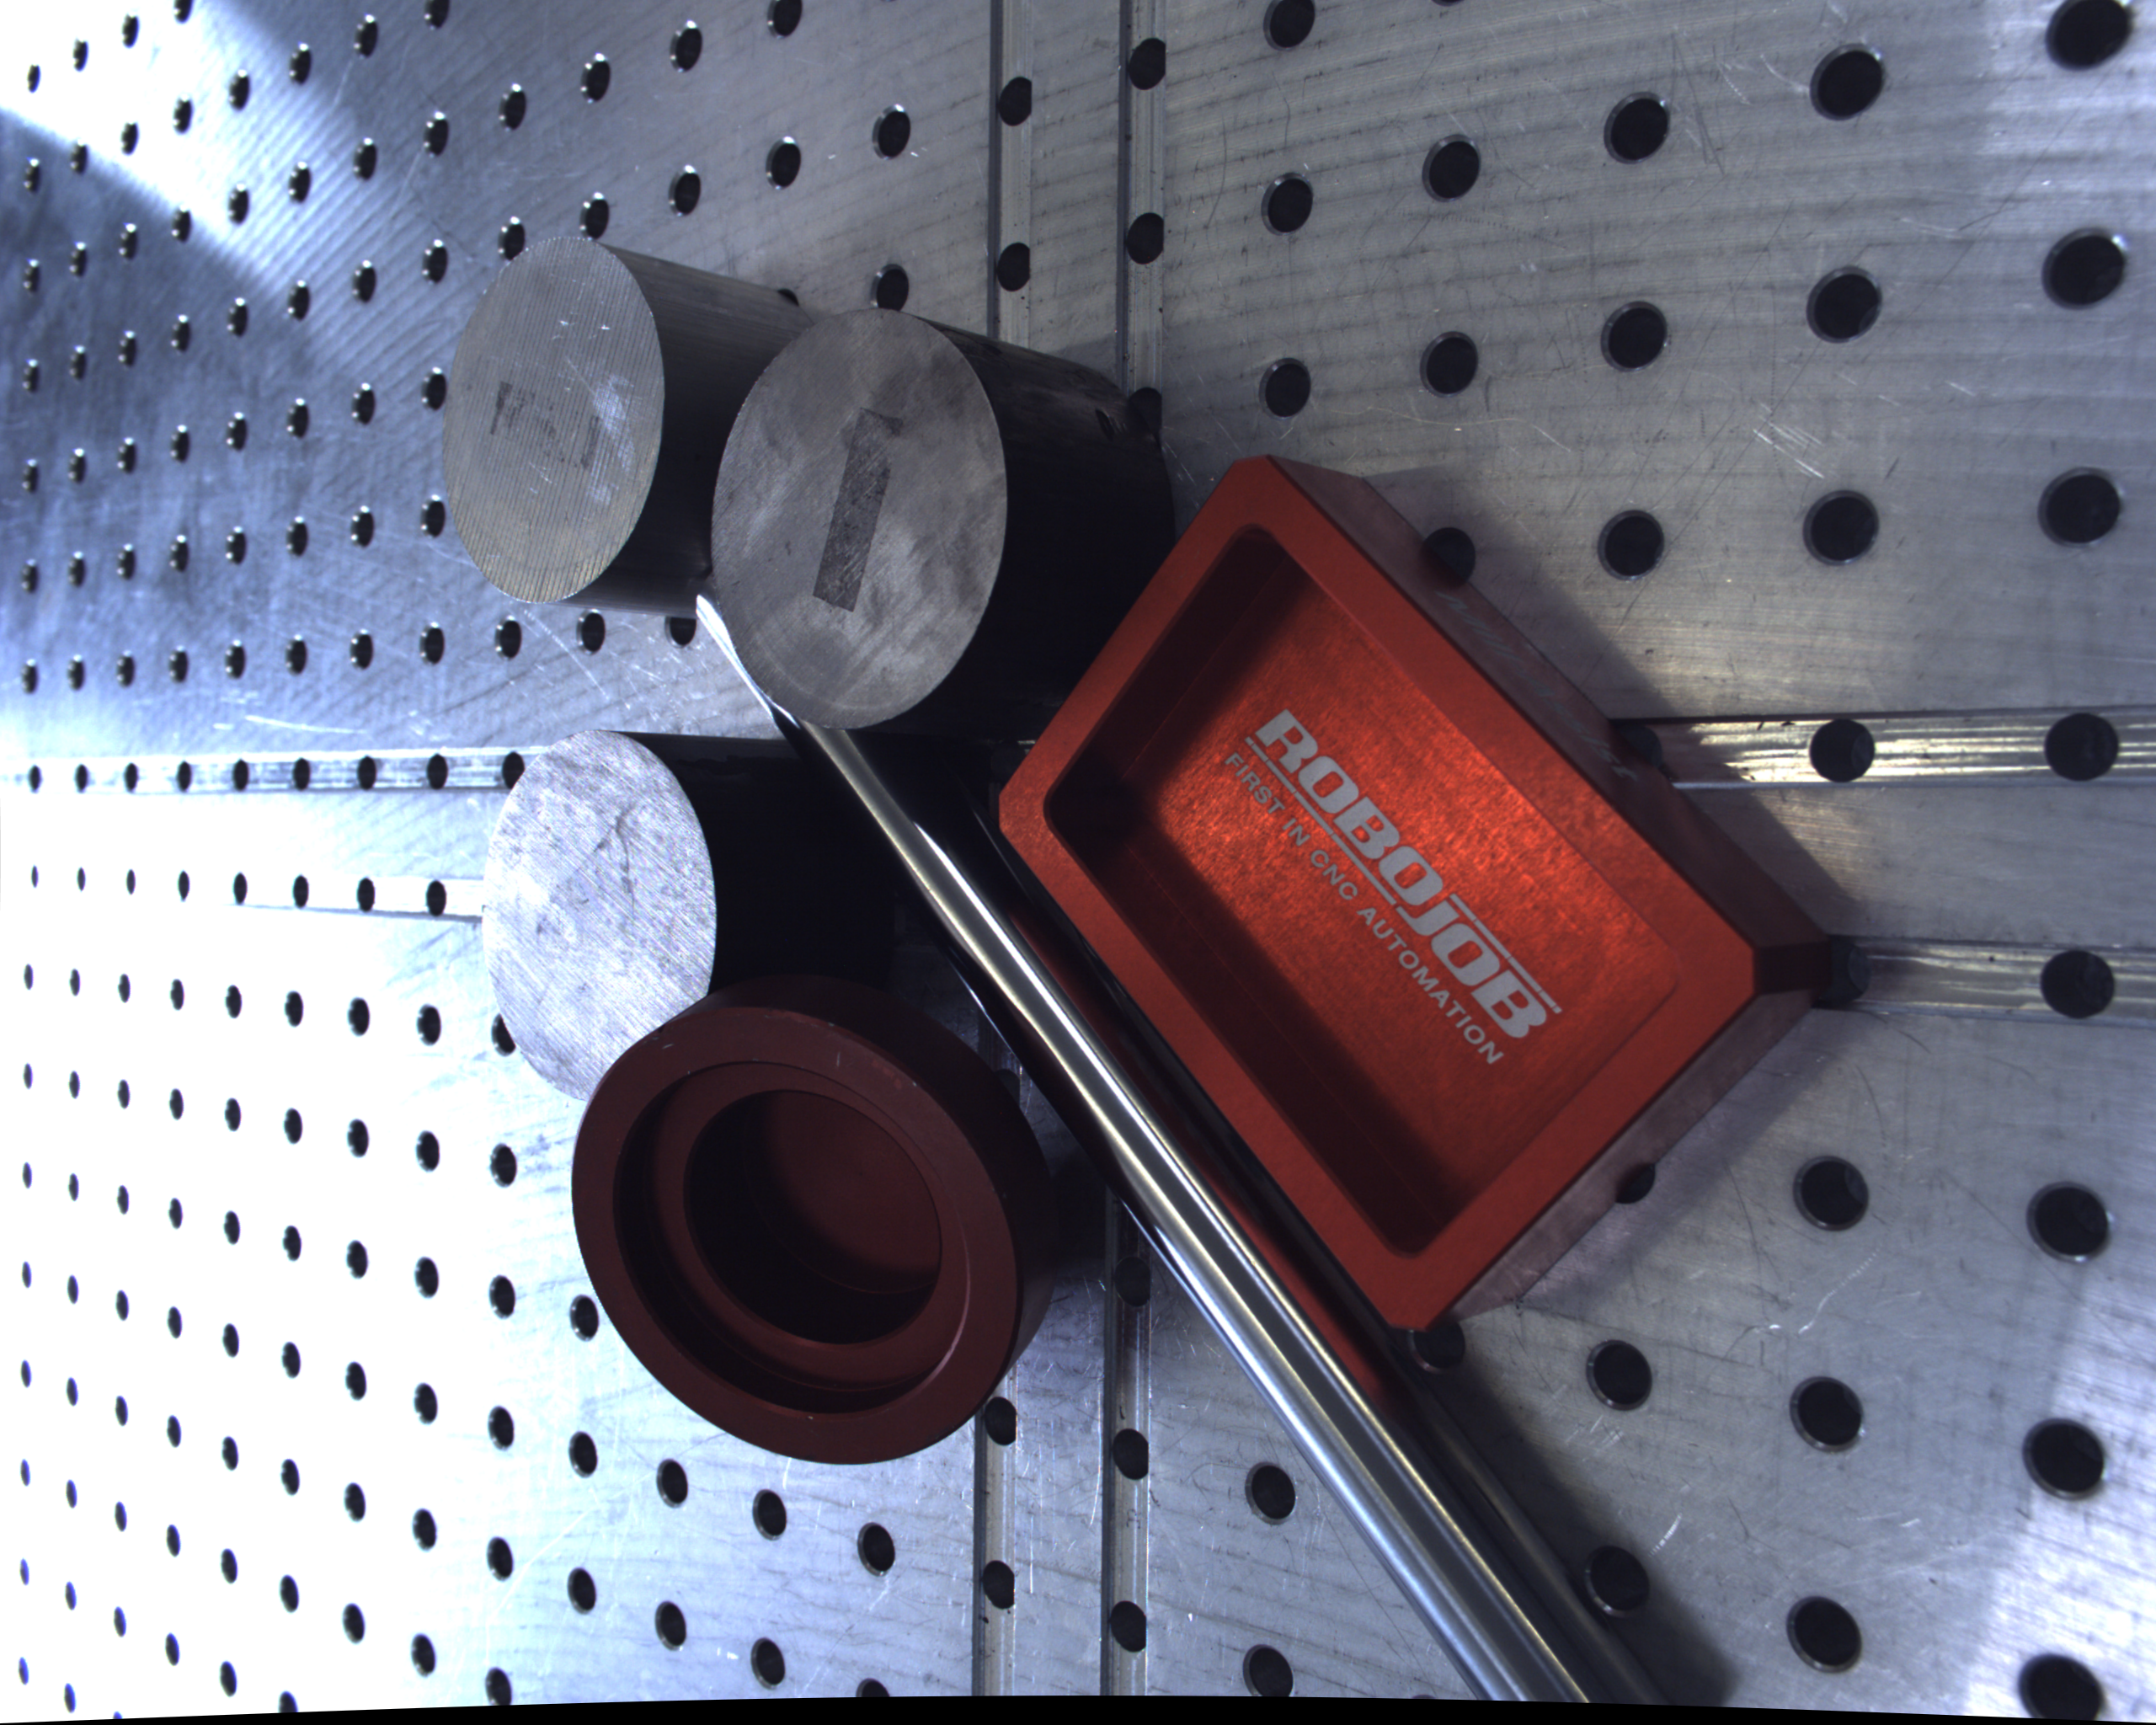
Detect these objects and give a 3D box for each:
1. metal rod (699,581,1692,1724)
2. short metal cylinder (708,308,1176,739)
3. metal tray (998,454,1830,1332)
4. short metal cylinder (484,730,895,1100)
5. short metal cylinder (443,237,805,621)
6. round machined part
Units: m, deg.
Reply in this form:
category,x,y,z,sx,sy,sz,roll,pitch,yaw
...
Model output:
category,x,y,z,sx,sy,sz,roll,pitch,yaw
metal rod,0.008,0.043,0.403,0.300,0.025,0.025,52,120,27
short metal cylinder,-0.028,-0.065,0.415,0.080,0.050,0.080,0,90,40
metal tray,0.051,0.003,0.363,0.130,0.030,0.090,51,120,27
short metal cylinder,-0.087,0.011,0.465,0.080,0.050,0.080,0,90,40
short metal cylinder,-0.100,-0.097,0.476,0.080,0.050,0.080,0,90,40
round machined part,-0.049,0.068,0.425,0.098,0.042,0.097,6,107,19
